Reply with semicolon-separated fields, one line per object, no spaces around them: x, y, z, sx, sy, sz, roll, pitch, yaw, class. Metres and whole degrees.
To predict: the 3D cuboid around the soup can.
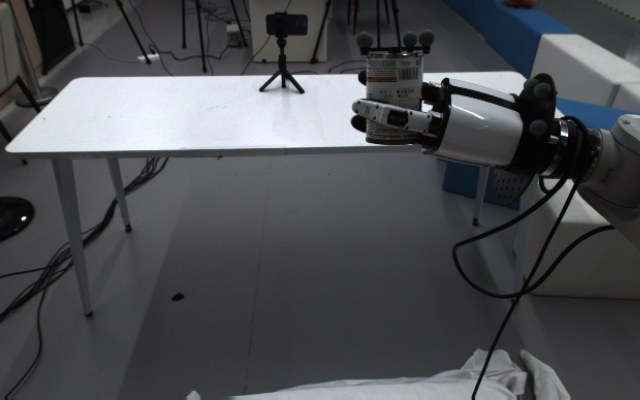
0.090;-0.121;0.573;0.067;0.101;0.067;-1;17;0;soup can
